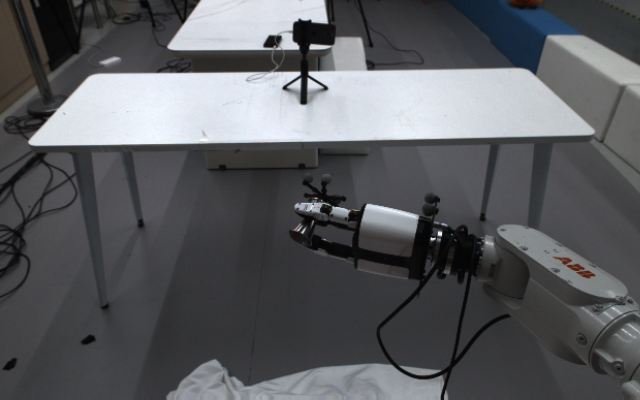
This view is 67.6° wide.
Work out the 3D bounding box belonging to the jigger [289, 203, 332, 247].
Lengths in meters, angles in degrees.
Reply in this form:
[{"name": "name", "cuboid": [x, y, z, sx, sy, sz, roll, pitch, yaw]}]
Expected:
[{"name": "jigger", "cuboid": [-0.018, 0.029, 0.770, 0.043, 0.043, 0.071, 19, 61, 23]}]
